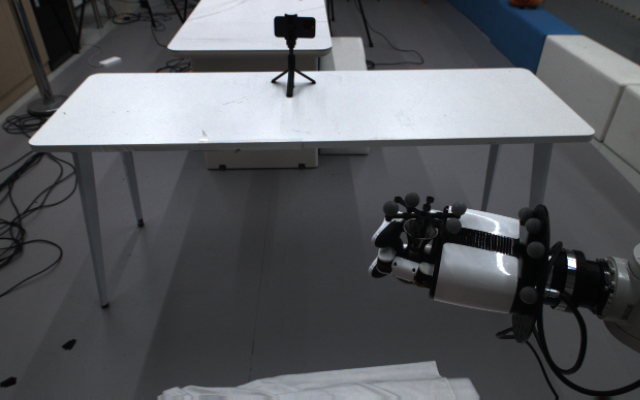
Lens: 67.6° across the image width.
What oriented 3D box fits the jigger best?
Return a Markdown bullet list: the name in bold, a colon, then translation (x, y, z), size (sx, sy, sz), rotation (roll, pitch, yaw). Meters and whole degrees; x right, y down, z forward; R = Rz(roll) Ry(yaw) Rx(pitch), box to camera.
- **jigger**: translation (0.118, 0.060, 0.583), size (0.043, 0.071, 0.043), rotation (4, 31, -2)
